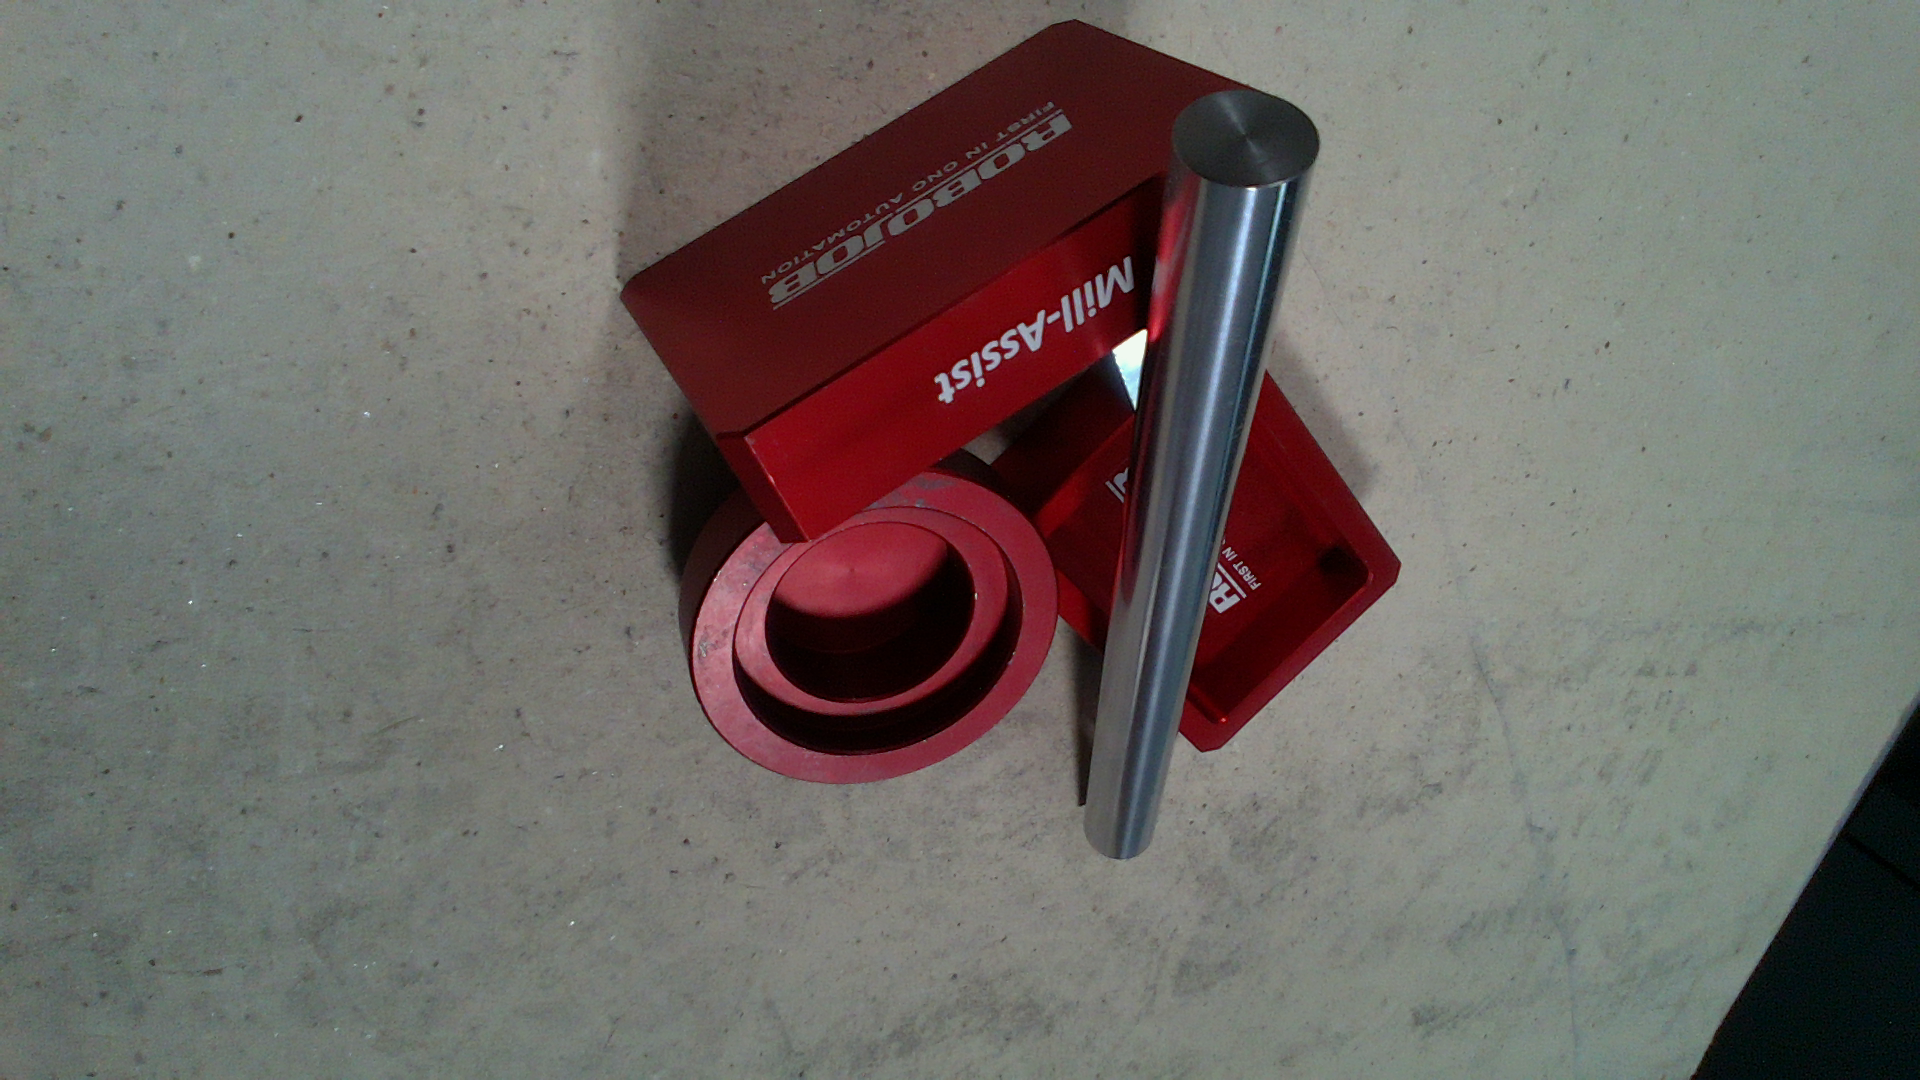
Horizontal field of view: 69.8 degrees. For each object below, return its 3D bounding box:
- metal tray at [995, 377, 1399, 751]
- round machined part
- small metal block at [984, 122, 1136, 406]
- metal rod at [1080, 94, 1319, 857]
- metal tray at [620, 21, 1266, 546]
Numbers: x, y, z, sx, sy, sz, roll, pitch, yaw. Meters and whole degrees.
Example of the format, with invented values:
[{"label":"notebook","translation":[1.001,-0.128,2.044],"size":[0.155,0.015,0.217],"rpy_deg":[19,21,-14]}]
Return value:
[{"label":"metal tray","translation":[0.072,-0.001,0.425],"size":[0.090,0.030,0.130],"rpy_deg":[-44,129,2]},{"label":"round machined part","translation":[-0.027,0.014,0.368],"size":[0.098,0.042,0.098],"rpy_deg":[-10,124,-15]},{"label":"small metal block","translation":[0.035,-0.067,0.344],"size":[0.025,0.050,0.050],"rpy_deg":[-35,143,-2]},{"label":"metal rod","translation":[0.051,0.016,0.358],"size":[0.025,0.025,0.300],"rpy_deg":[-24,149,-14]},{"label":"metal tray","translation":[-0.003,-0.063,0.306],"size":[0.130,0.090,0.030],"rpy_deg":[-33,129,-7]}]
